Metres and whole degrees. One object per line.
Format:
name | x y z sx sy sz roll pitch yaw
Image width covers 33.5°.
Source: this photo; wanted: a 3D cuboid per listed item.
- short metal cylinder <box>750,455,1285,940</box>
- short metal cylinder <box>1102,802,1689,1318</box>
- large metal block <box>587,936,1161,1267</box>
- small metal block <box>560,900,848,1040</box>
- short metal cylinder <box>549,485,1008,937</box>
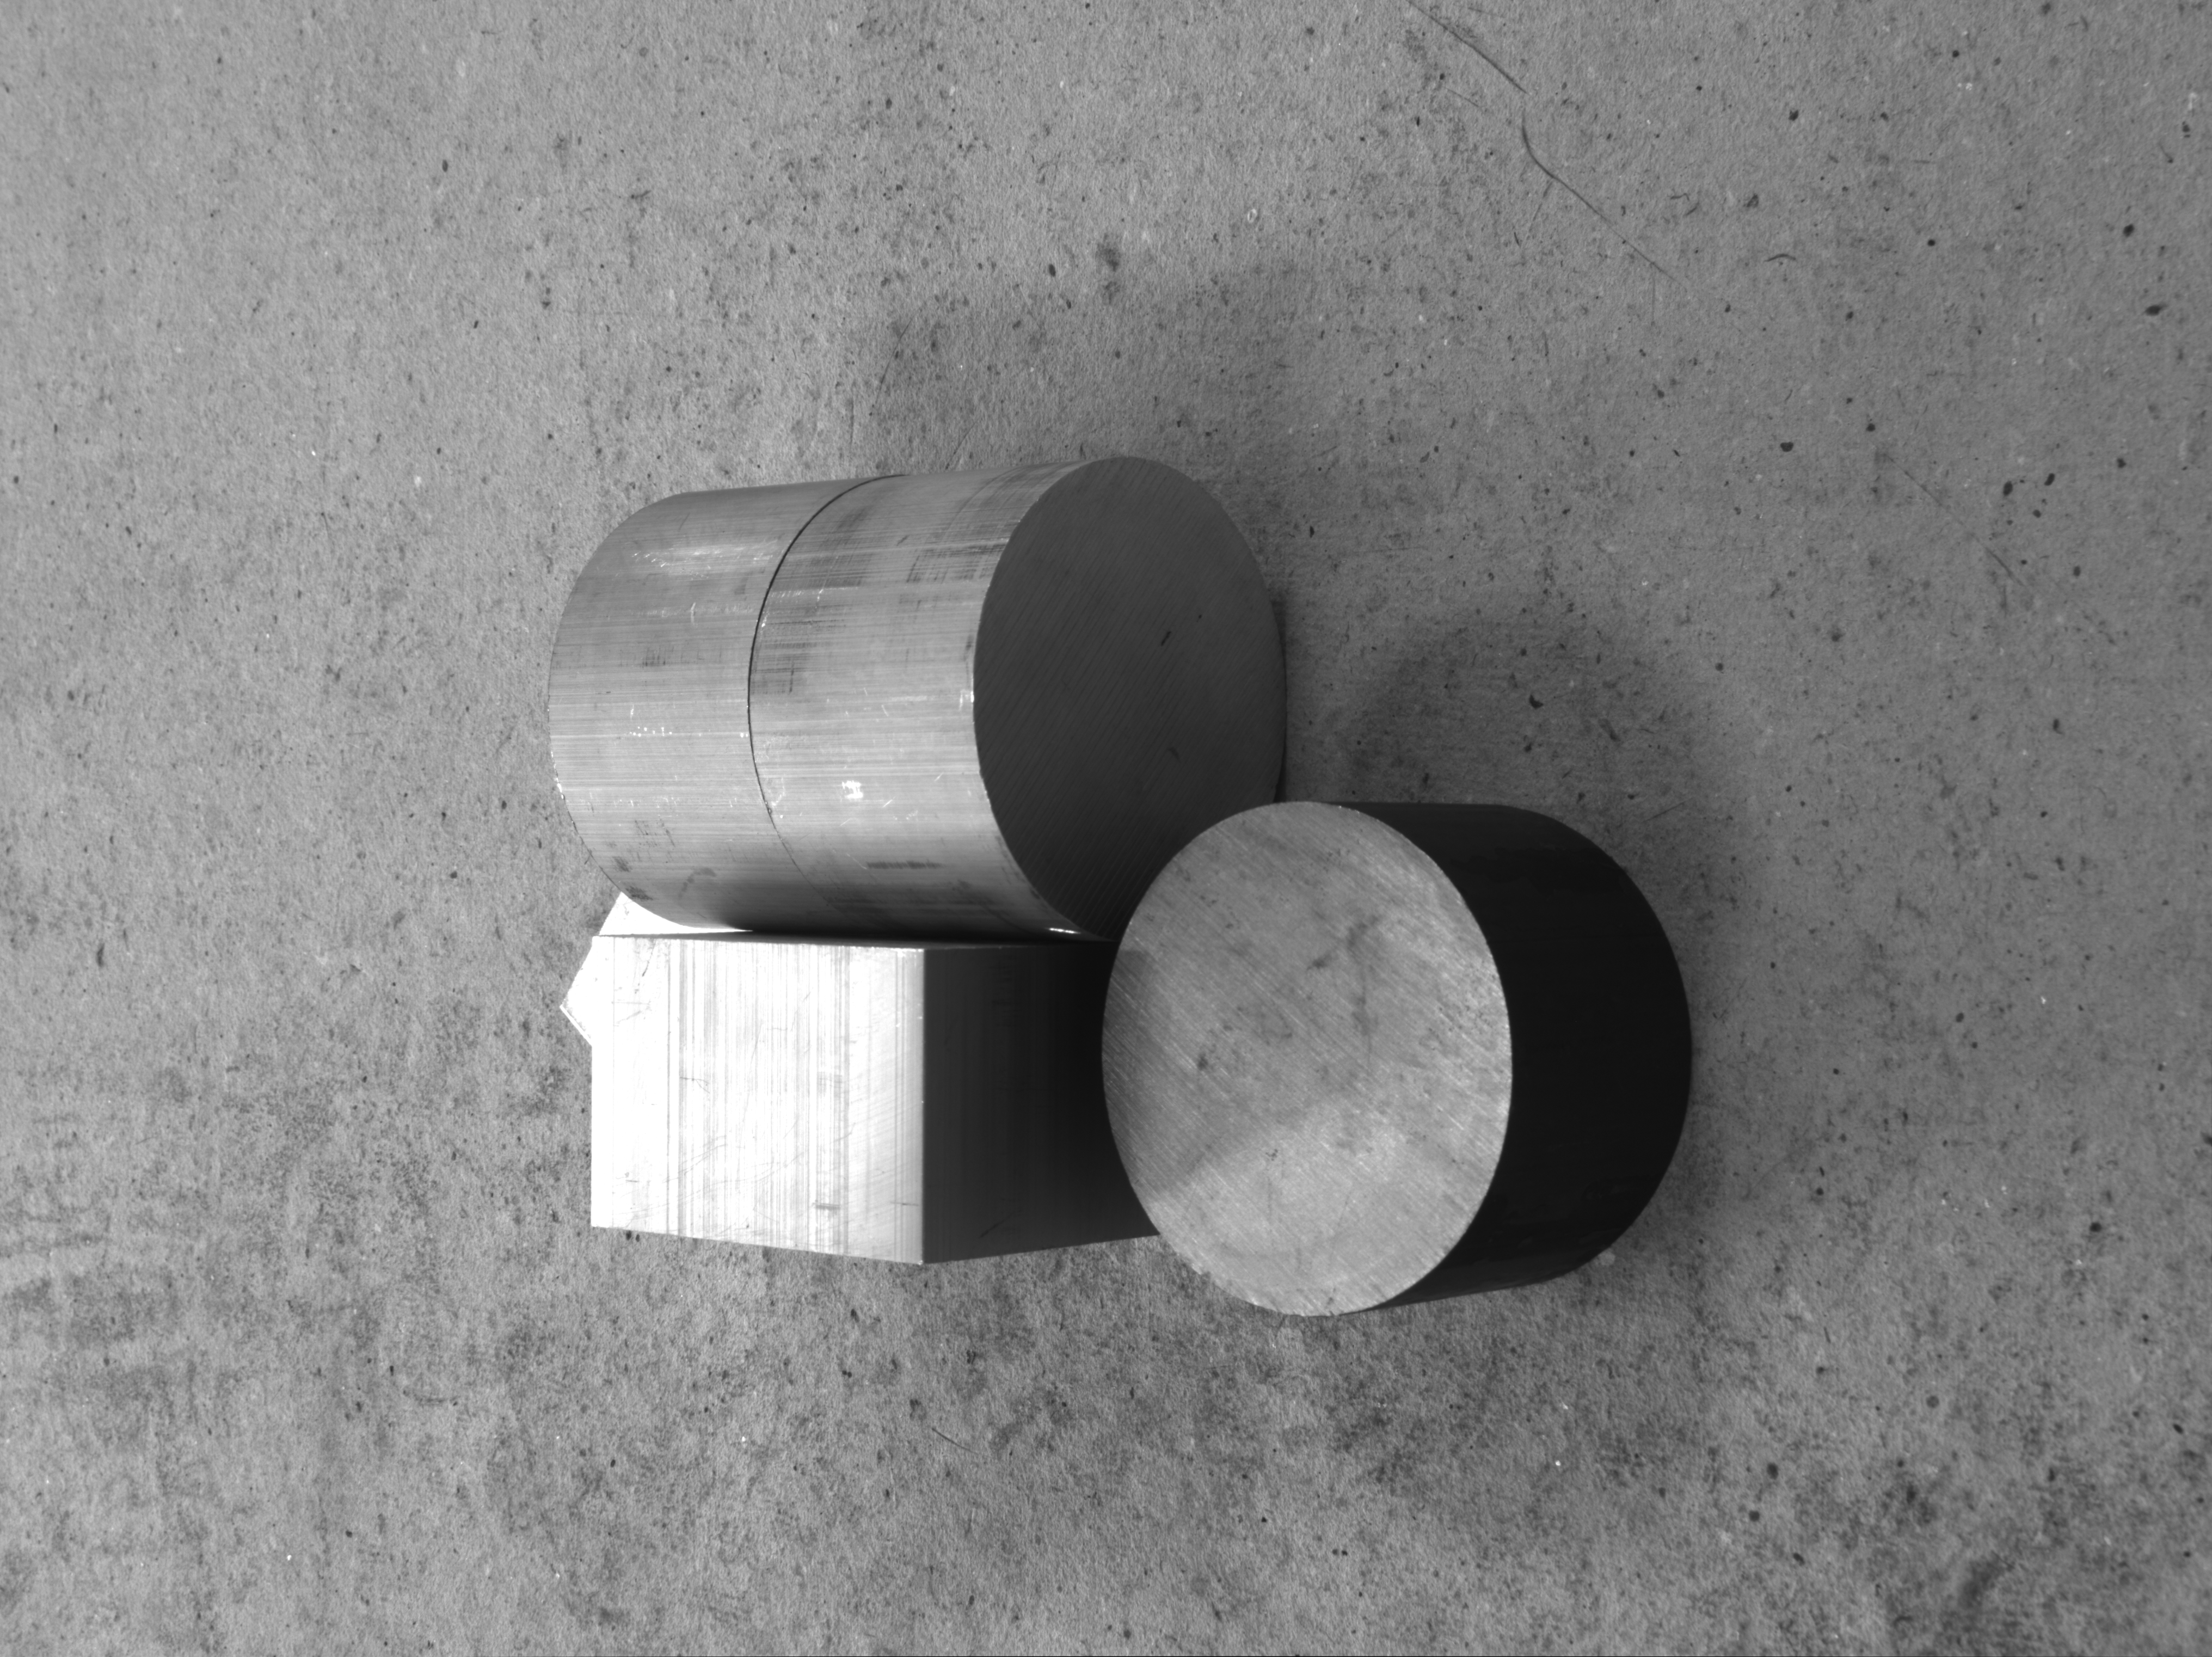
short metal cylinder | -0.014 -0.022 0.622 0.050 0.080 0.080 1 90 40
short metal cylinder | 0.046 0.036 0.590 0.080 0.050 0.080 0 90 40
large metal block | -0.033 0.044 0.639 0.080 0.080 0.050 1 90 40
small metal block | -0.072 0.030 0.707 0.050 0.025 0.050 45 117 31
short metal cylinder | -0.052 -0.021 0.654 0.050 0.080 0.080 1 90 40
